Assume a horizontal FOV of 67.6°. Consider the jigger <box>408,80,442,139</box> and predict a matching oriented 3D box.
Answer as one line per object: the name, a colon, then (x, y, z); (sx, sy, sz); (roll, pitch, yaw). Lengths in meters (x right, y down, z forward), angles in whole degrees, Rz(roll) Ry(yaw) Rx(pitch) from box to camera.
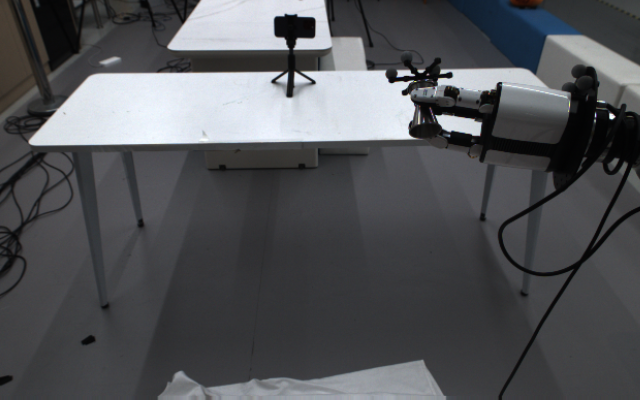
jigger: (0.141, -0.126, 0.660); (0.043, 0.043, 0.071); (1, 70, -2)
